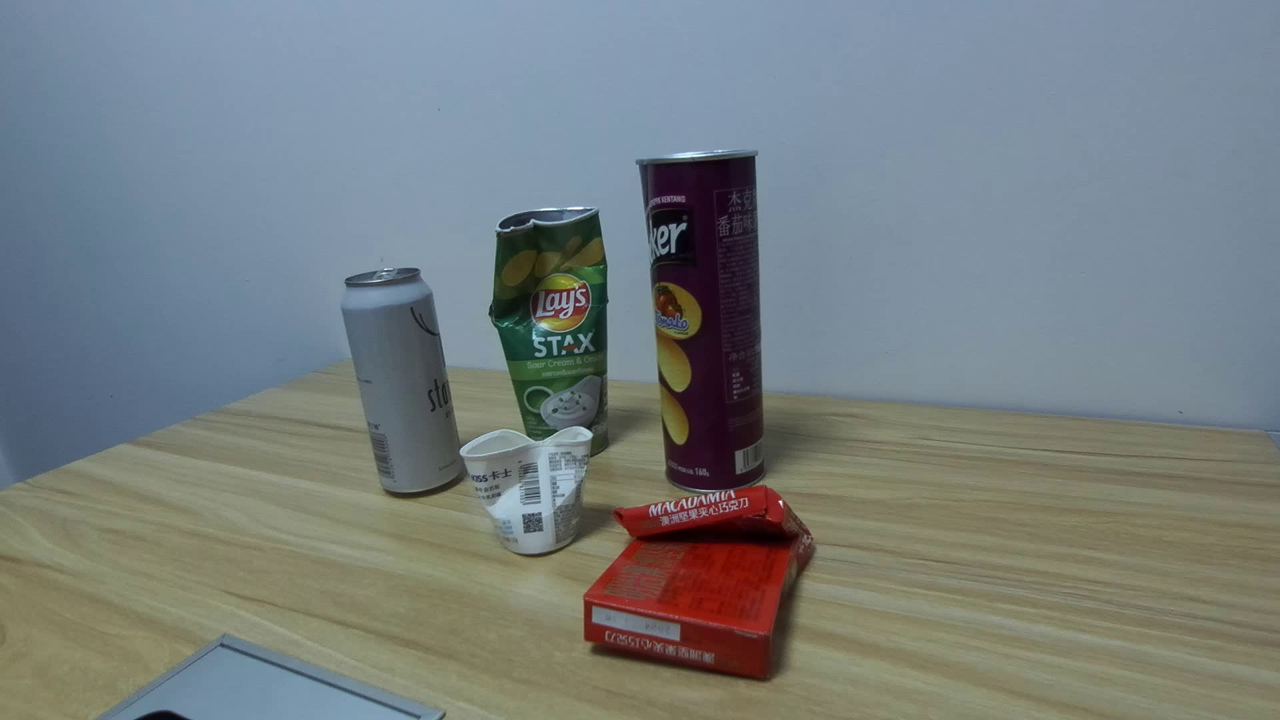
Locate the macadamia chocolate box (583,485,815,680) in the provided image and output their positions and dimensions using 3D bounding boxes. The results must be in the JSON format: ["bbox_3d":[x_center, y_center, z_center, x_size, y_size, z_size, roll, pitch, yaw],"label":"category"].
[{"bbox_3d":[0.029,0.116,0.392,0.112,0.056,0.126,-14,15,25],"label":"macadamia chocolate box"}]

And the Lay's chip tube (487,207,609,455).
[{"bbox_3d":[-0.069,-0.020,0.580,0.069,0.201,0.077,11,27,43],"label":"Lay's chip tube"}]

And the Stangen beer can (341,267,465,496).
[{"bbox_3d":[-0.183,0.018,0.550,0.067,0.171,0.067,-6,15,2],"label":"Stangen beer can"}]

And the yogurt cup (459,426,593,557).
[{"bbox_3d":[-0.070,0.083,0.461,0.076,0.071,0.053,-18,23,-29],"label":"yogurt cup"}]

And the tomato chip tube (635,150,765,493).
[{"bbox_3d":[0.048,-0.025,0.503,0.077,0.234,0.080,-7,17,-5],"label":"tomato chip tube"}]
